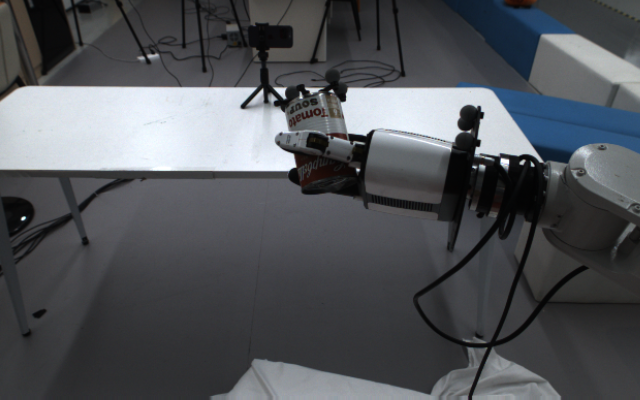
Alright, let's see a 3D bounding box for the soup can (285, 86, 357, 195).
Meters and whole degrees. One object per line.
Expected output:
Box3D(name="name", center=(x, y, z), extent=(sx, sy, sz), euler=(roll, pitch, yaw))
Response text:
Box3D(name="soup can", center=(0.003, -0.064, 0.559), extent=(0.067, 0.067, 0.101), euler=(-10, 79, -17))
